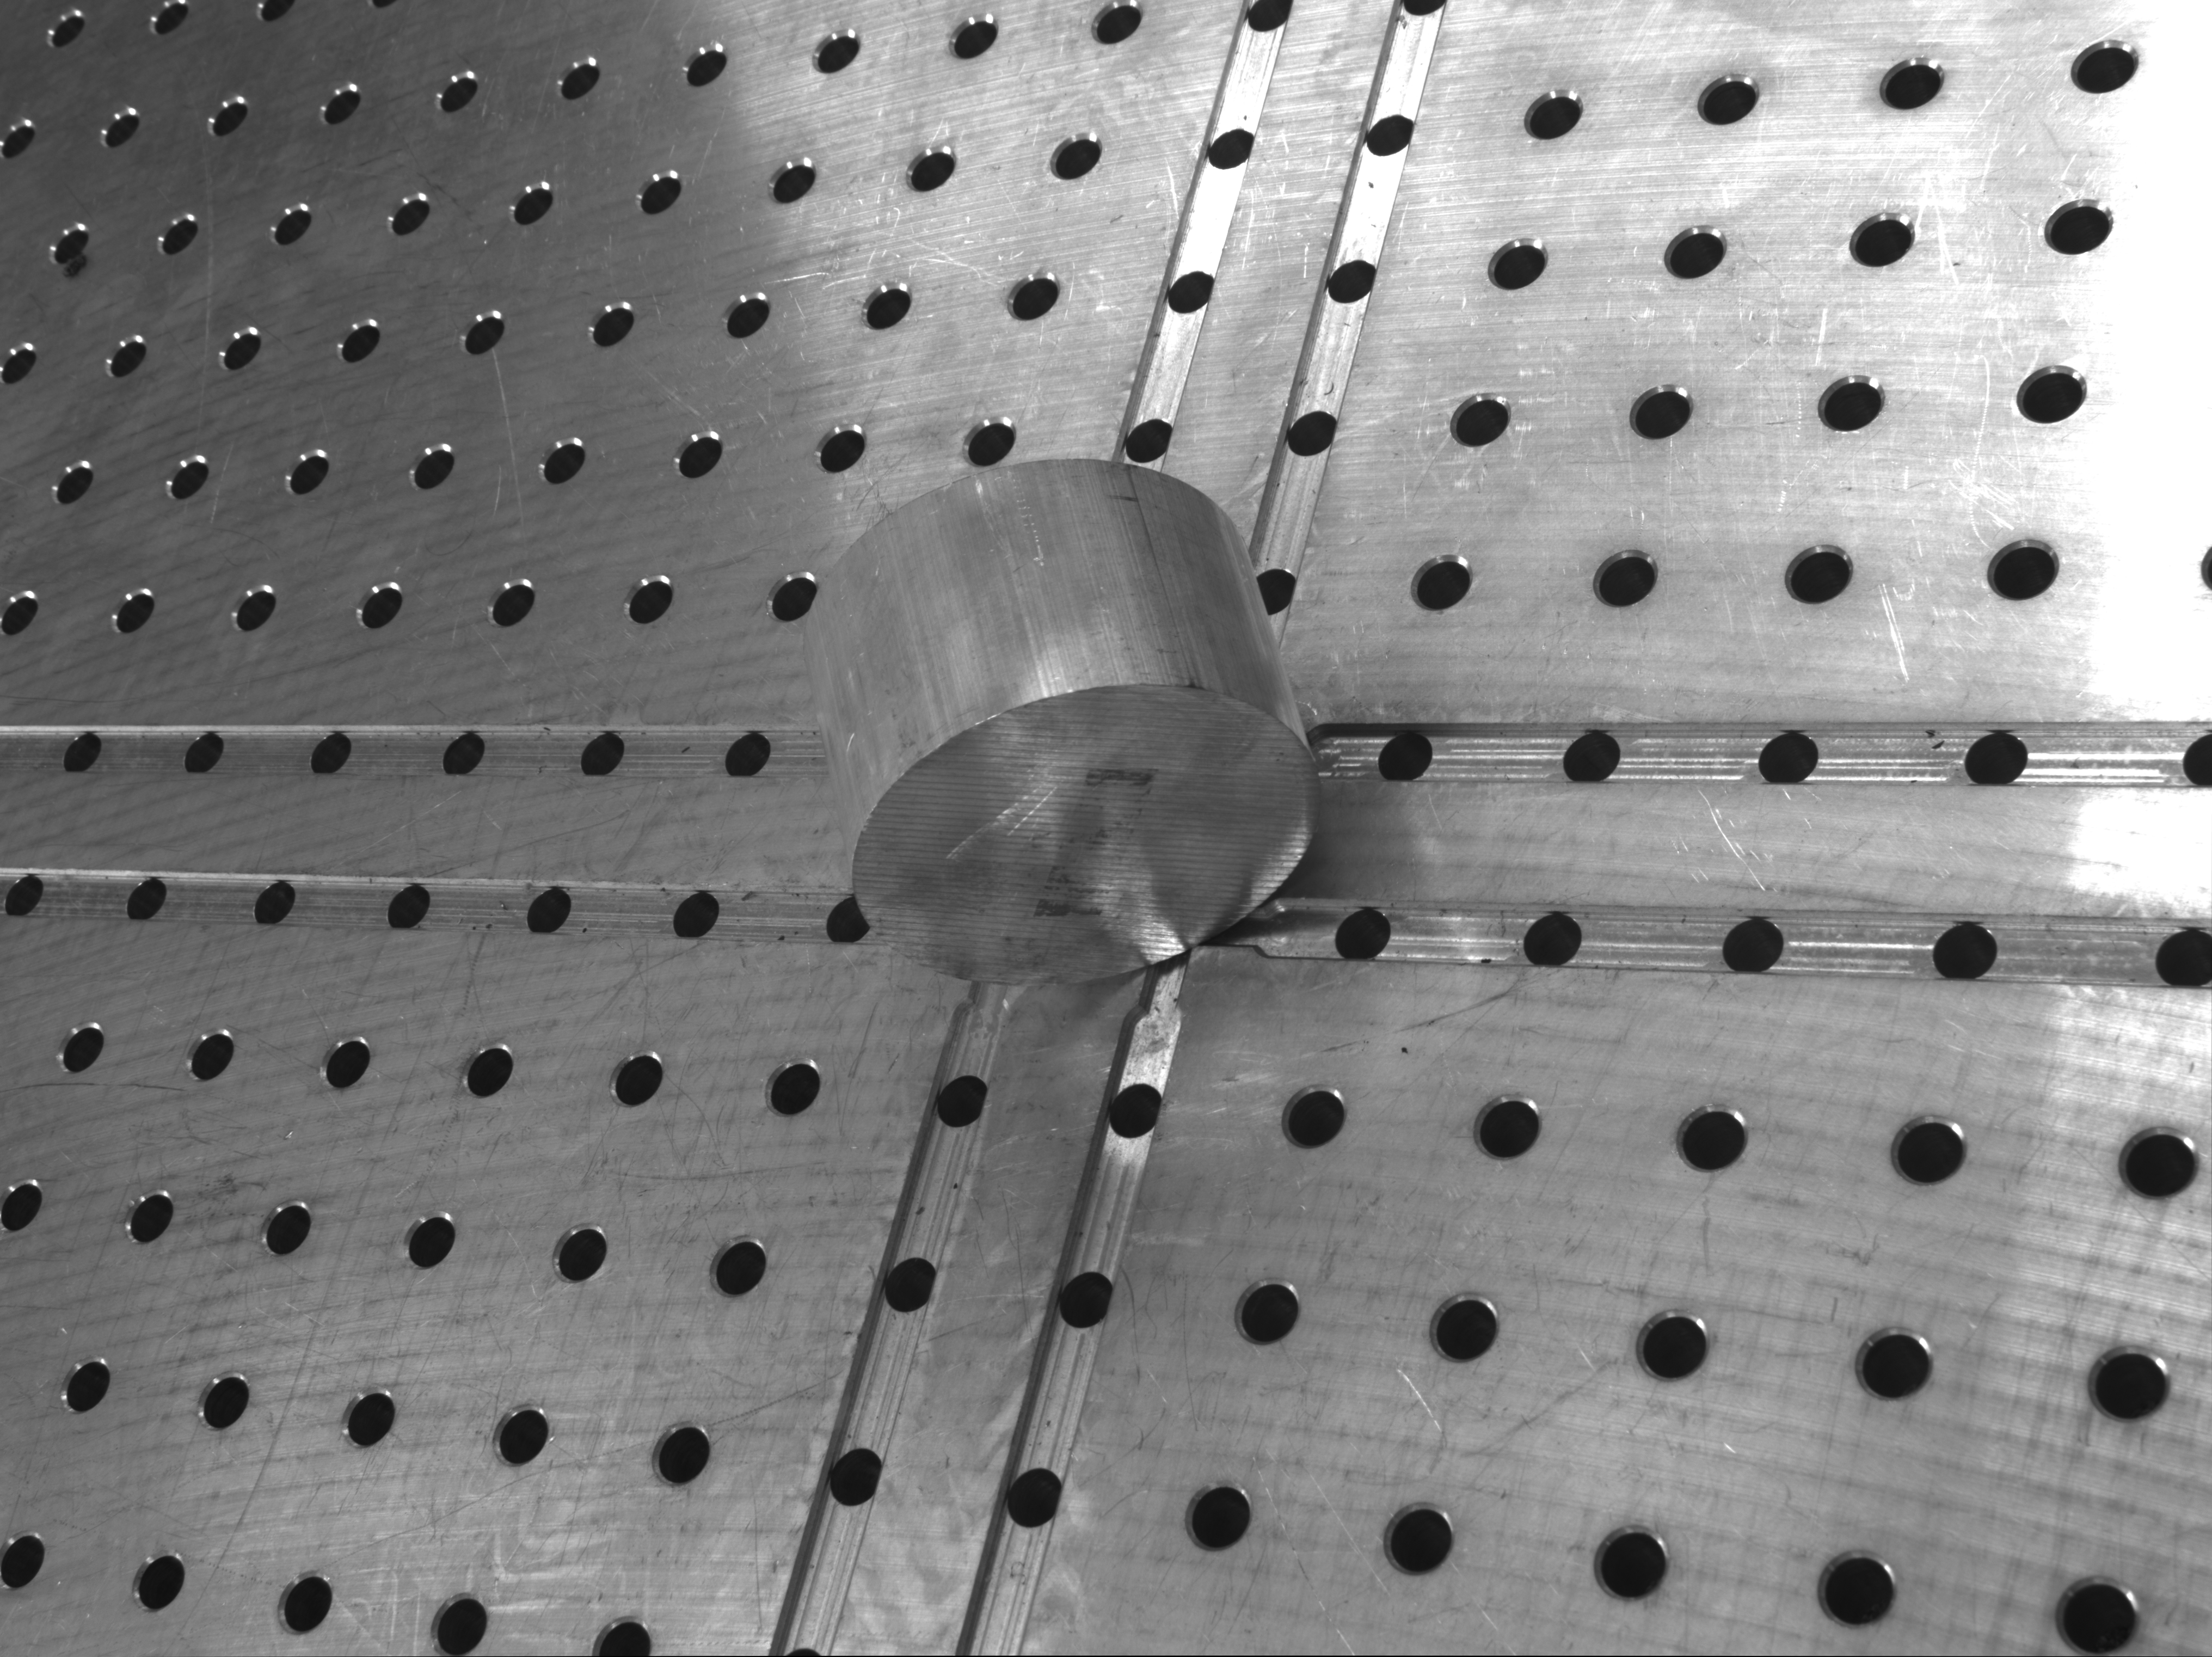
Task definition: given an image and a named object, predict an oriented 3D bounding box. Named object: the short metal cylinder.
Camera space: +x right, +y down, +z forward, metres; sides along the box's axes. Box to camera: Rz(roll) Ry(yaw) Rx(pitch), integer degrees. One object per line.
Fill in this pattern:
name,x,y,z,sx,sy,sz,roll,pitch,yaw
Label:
short metal cylinder,-0.008,-0.017,0.628,0.080,0.080,0.050,-25,52,13
